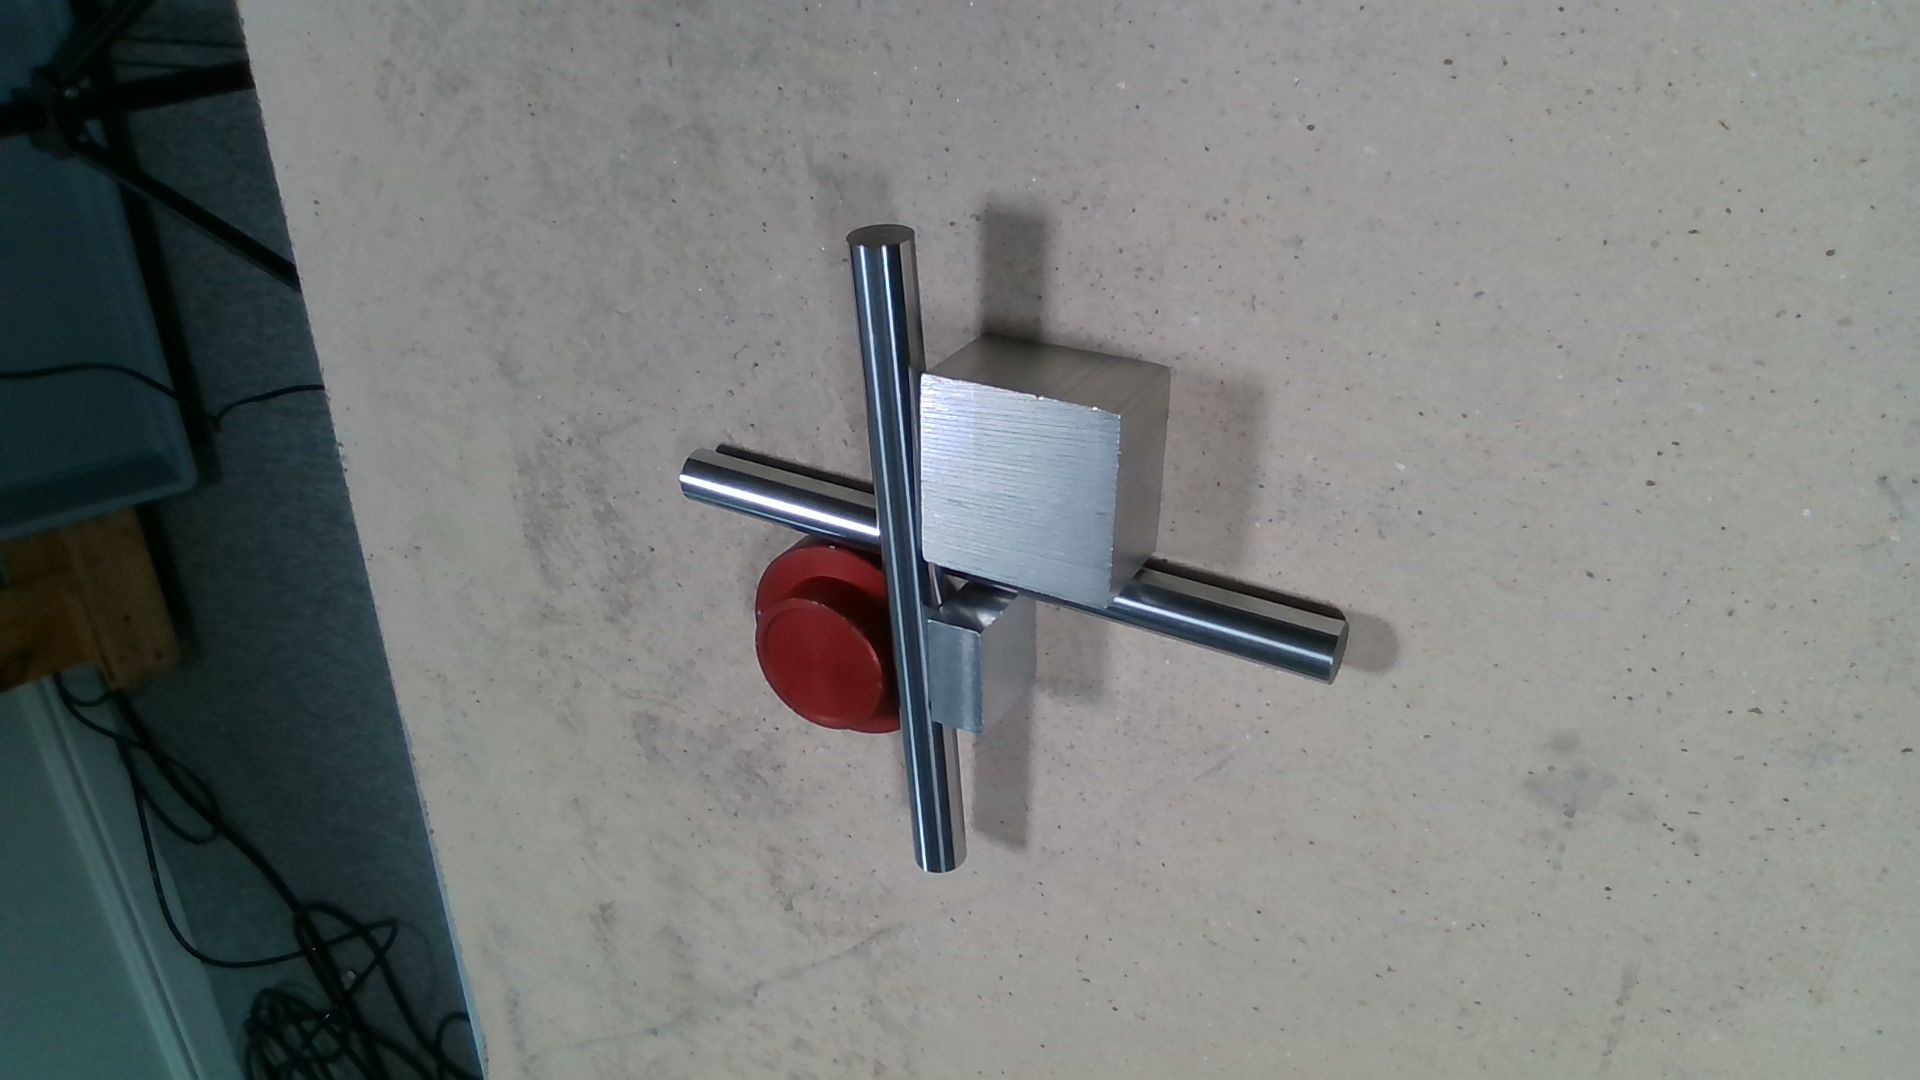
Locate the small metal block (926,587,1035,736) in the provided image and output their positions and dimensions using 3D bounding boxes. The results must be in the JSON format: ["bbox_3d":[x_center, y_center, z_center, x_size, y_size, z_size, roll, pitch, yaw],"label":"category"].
[{"bbox_3d":[0.010,0.046,0.584,0.025,0.050,0.050,13,121,26],"label":"small metal block"}]

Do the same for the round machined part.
[{"bbox_3d":[-0.055,0.047,0.628,0.098,0.042,0.098,14,122,25],"label":"round machined part"}]

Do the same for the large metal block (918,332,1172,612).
[{"bbox_3d":[0.031,-0.028,0.528,0.080,0.050,0.080,15,122,24],"label":"large metal block"}]

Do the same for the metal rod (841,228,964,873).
[{"bbox_3d":[-0.020,0.019,0.571,0.025,0.025,0.301,12,125,26],"label":"metal rod"}]

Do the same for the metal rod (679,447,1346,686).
[{"bbox_3d":[0.010,0.006,0.577,0.300,0.025,0.025,16,122,24],"label":"metal rod"}]
